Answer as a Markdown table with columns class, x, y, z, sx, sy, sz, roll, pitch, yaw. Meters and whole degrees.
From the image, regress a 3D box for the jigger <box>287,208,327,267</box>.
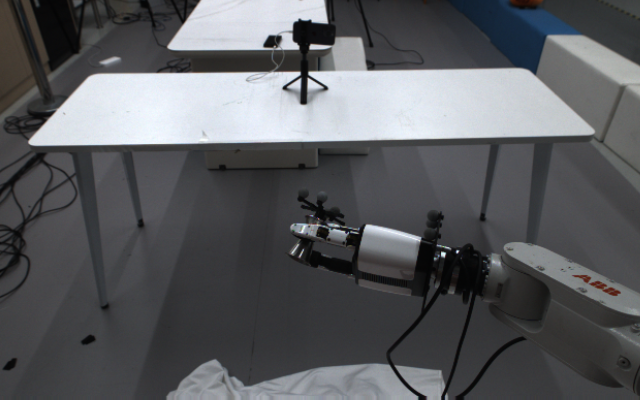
| class | x | y | z | sx | sy | sz | roll | pitch | yaw |
| --- | --- | --- | --- | --- | --- | --- | --- | --- | --- |
| jigger | -0.021 | 0.059 | 0.740 | 0.043 | 0.043 | 0.071 | 21 | 74 | 25 |
